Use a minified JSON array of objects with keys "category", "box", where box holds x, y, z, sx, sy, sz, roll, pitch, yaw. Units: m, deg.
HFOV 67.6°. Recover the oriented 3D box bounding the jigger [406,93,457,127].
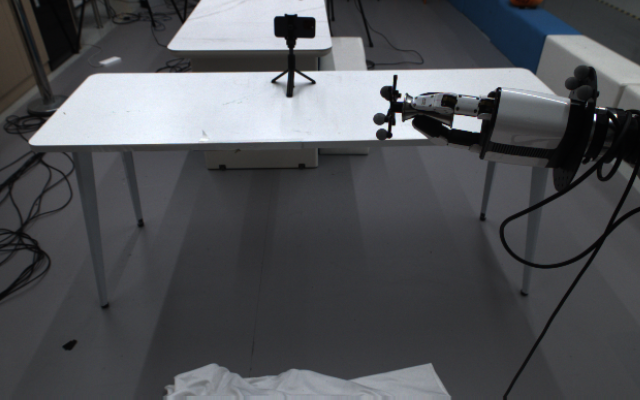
[{"category":"jigger","box":[0.156,-0.129,0.668,0.071,0.043,0.043,8,35,15]}]
